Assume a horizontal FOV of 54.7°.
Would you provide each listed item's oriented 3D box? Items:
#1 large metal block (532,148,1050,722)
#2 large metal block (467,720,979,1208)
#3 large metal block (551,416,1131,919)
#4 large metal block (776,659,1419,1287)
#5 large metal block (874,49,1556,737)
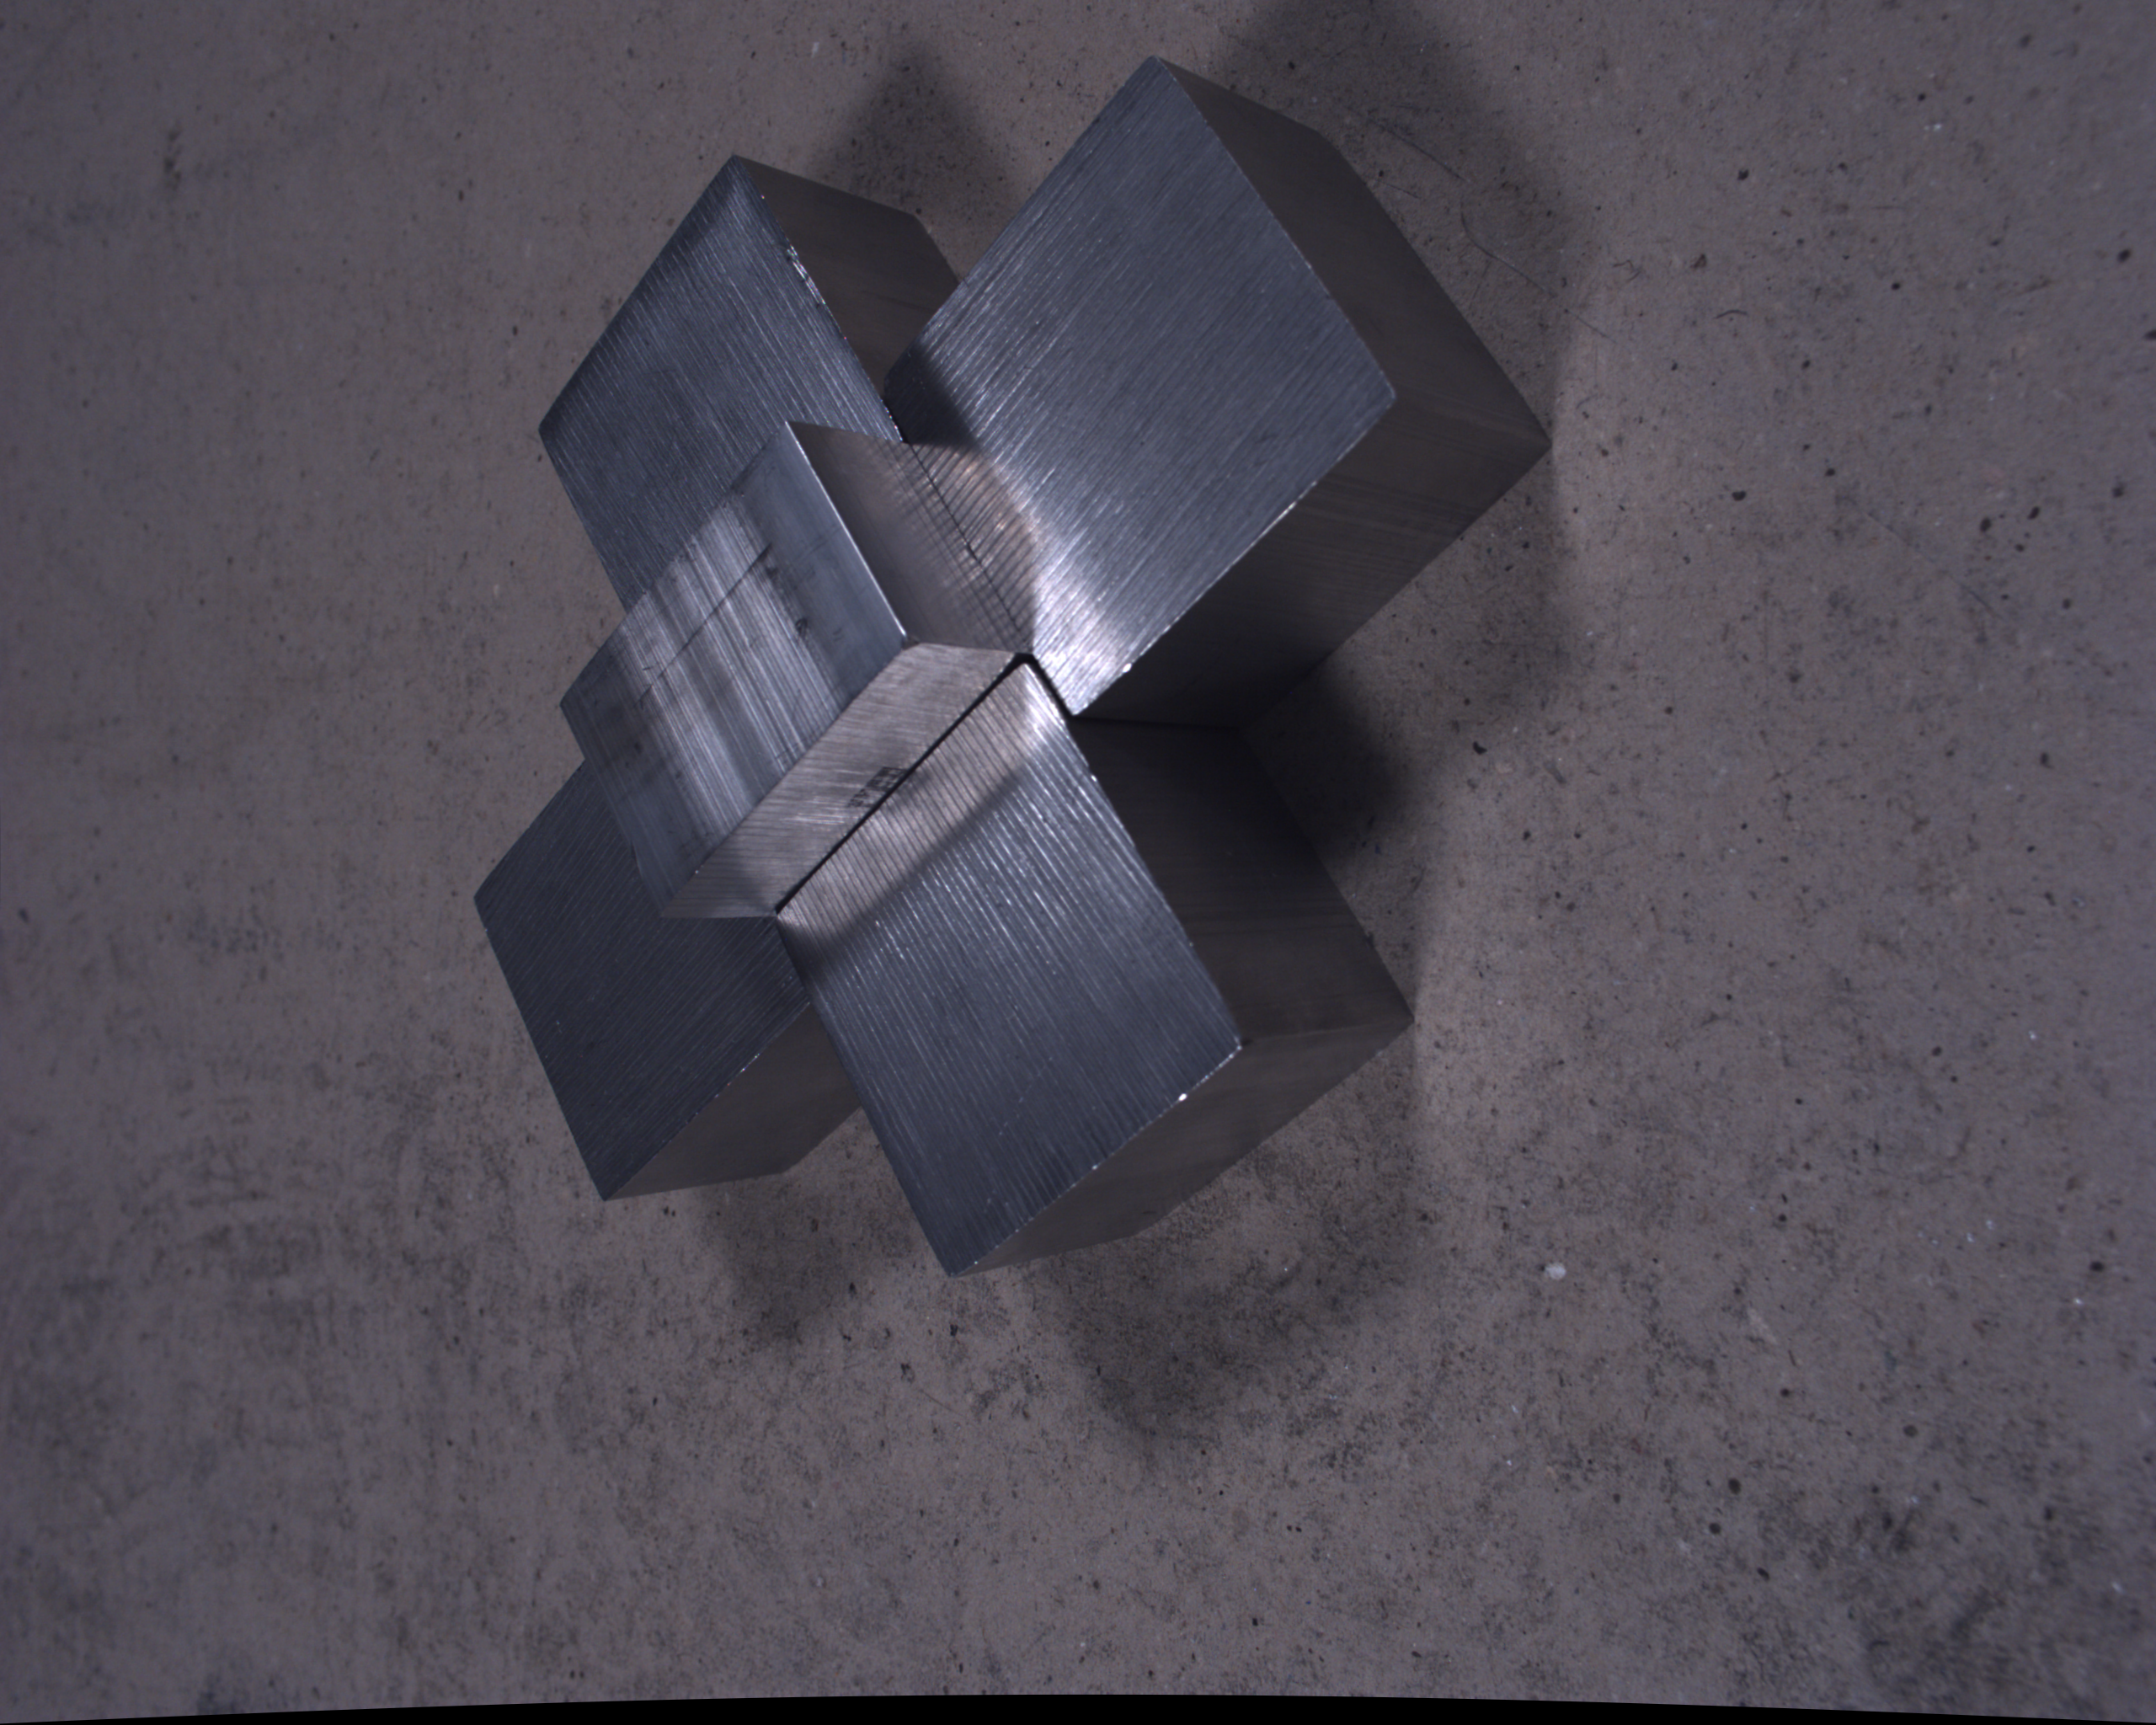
[{"bbox_3d":[-0.059,-0.085,0.435,0.080,0.050,0.080,-44,64,31],"label":"large metal block"},{"bbox_3d":[-0.077,0.017,0.451,0.080,0.050,0.080,-44,64,31],"label":"large metal block"},{"bbox_3d":[-0.039,-0.033,0.400,0.080,0.081,0.050,-44,64,31],"label":"large metal block"},{"bbox_3d":[0.001,0.020,0.386,0.080,0.050,0.080,-44,64,31],"label":"large metal block"},{"bbox_3d":[0.022,-0.079,0.370,0.080,0.050,0.080,-44,64,31],"label":"large metal block"}]
